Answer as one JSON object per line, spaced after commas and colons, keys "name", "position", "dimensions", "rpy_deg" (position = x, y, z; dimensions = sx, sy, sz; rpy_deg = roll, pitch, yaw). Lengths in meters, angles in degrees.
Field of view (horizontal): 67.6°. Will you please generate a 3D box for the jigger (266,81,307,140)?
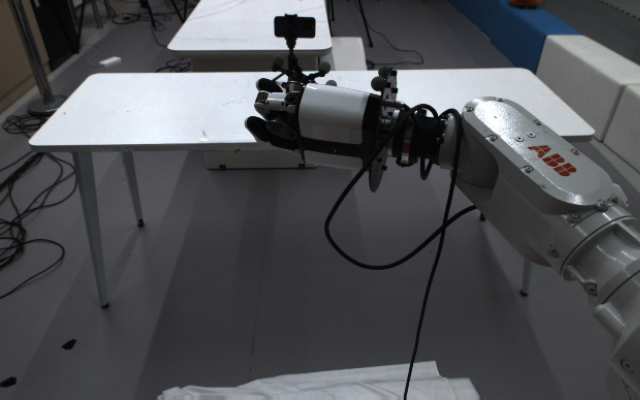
{"name": "jigger", "position": [-0.038, -0.122, 0.656], "dimensions": [0.043, 0.043, 0.071], "rpy_deg": [13, 70, 16]}
